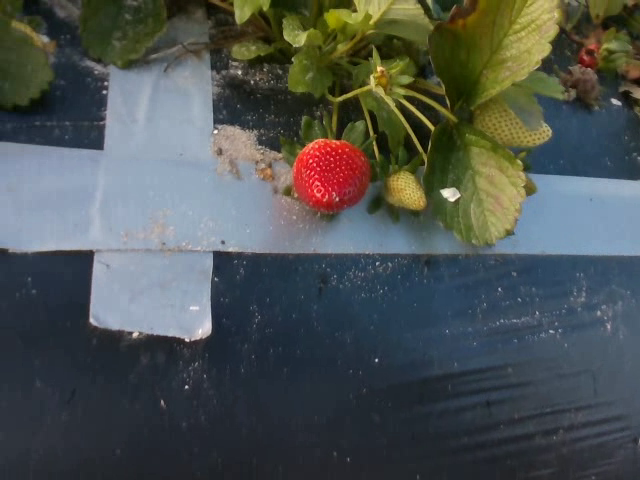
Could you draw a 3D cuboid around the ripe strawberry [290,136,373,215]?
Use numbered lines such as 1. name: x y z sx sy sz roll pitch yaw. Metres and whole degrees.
1. ripe strawberry: 0.003 -0.014 0.146 0.023 0.021 0.026 1 34 4
